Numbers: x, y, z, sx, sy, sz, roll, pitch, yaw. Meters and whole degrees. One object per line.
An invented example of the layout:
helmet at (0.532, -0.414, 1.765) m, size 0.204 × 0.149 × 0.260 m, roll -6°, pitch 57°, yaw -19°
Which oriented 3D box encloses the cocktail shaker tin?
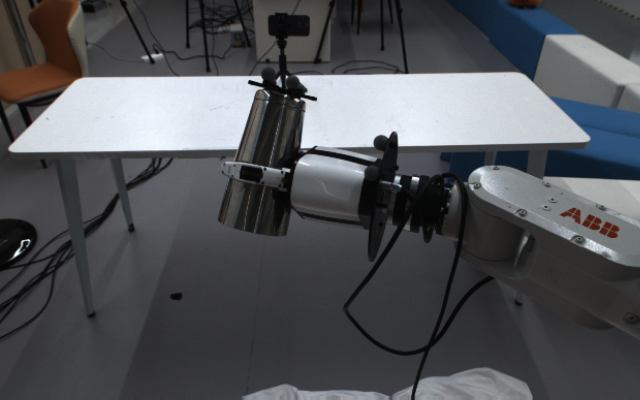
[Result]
cocktail shaker tin at (-0.067, -0.047, 0.619) m, size 0.093 × 0.170 × 0.093 m, roll 13°, pitch 4°, yaw -1°
